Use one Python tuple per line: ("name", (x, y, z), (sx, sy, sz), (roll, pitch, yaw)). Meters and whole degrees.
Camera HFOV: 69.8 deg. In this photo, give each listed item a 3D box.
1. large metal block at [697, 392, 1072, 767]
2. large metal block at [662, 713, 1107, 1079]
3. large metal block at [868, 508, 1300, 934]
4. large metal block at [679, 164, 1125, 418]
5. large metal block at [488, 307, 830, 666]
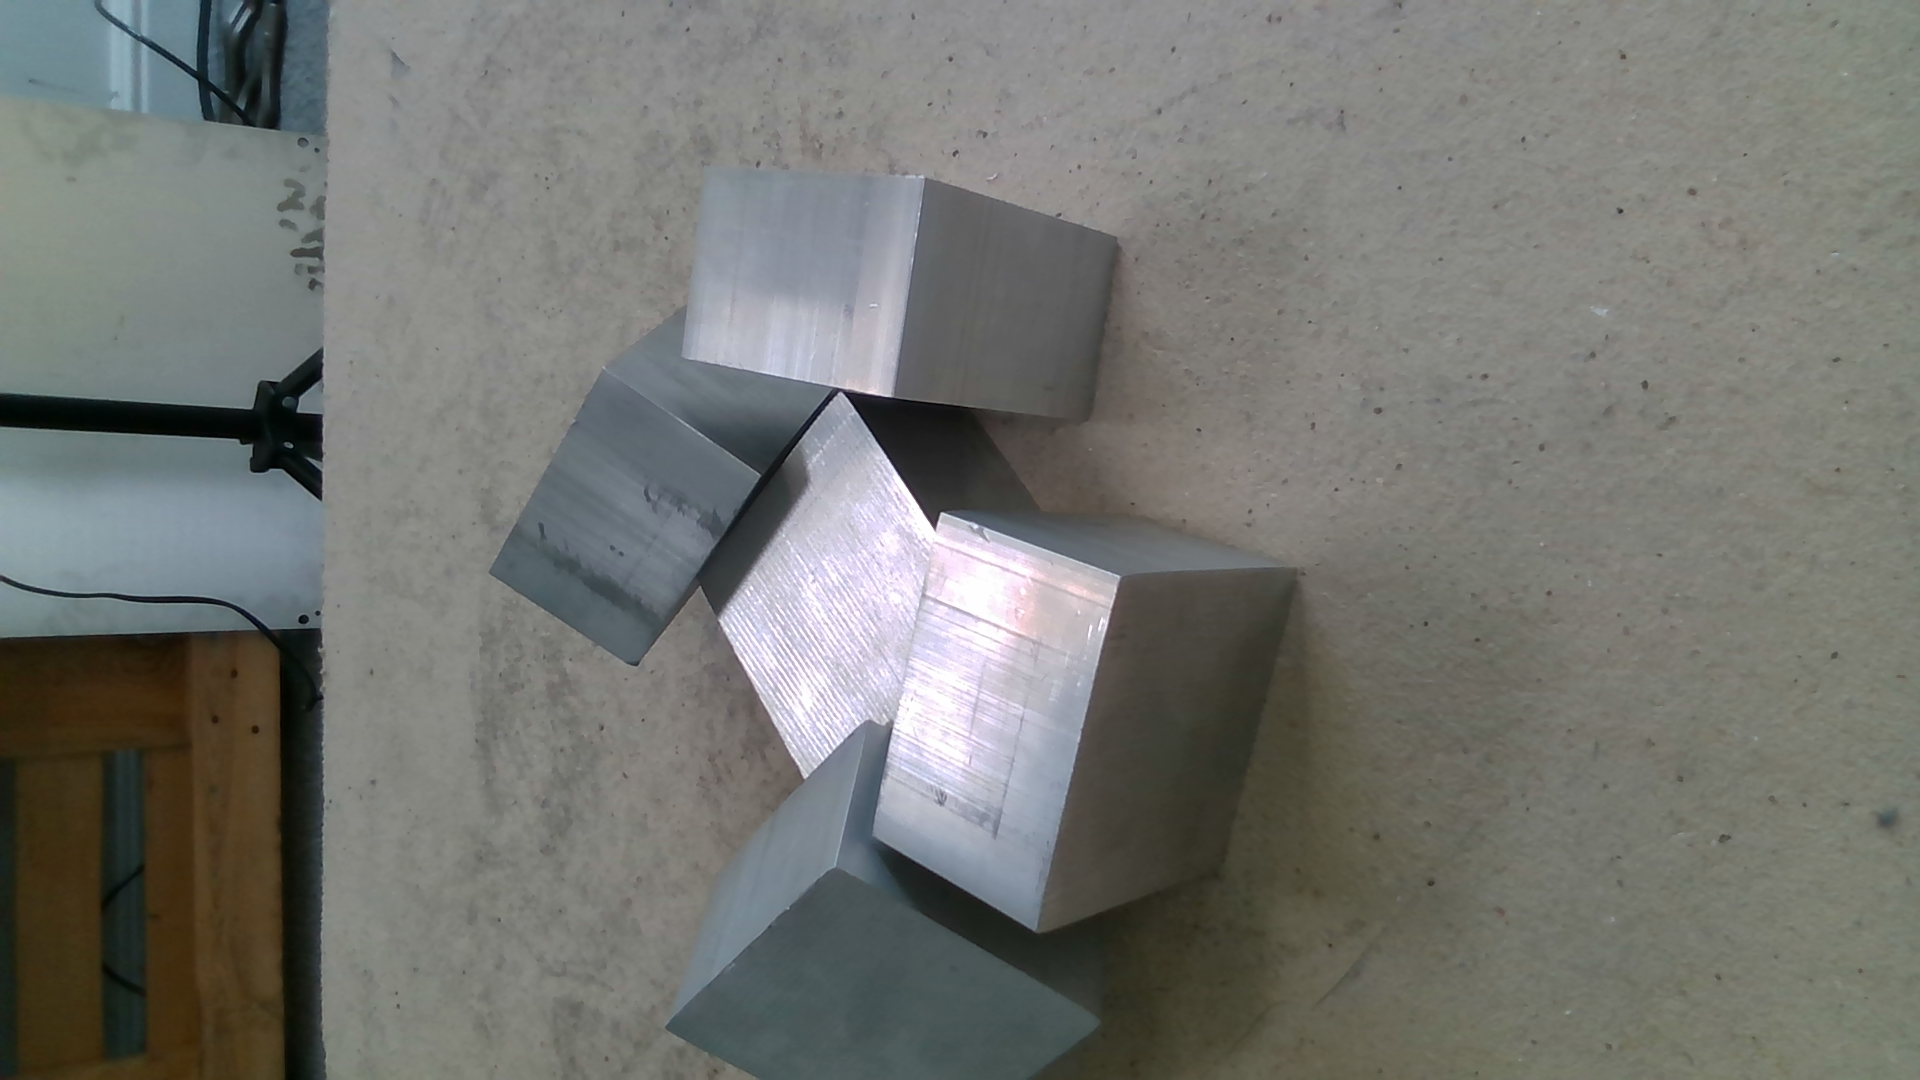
("large metal block", (-0.019, 0.015, 0.388), (0.080, 0.050, 0.080), (-49, 61, 30))
("large metal block", (-0.018, 0.105, 0.363), (0.080, 0.080, 0.050), (-47, 18, 30))
("large metal block", (0.031, 0.038, 0.329), (0.050, 0.080, 0.080), (20, 103, 38))
("large metal block", (-0.015, -0.066, 0.368), (0.080, 0.080, 0.050), (15, 100, 40))
("large metal block", (-0.088, -0.022, 0.421), (0.050, 0.080, 0.080), (35, 118, -6))
